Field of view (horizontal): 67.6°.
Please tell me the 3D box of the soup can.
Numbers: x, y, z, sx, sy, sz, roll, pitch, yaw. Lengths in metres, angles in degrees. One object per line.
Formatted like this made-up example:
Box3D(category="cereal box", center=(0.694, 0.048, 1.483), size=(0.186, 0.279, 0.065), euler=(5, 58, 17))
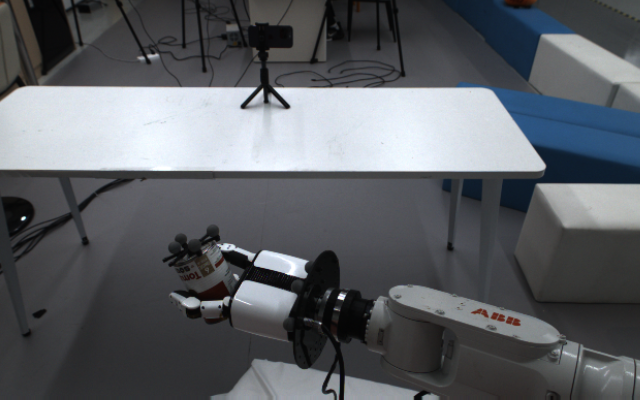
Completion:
Box3D(category="soup can", center=(-0.156, 0.118, 0.693), size=(0.067, 0.101, 0.067), euler=(-24, 16, 7))
